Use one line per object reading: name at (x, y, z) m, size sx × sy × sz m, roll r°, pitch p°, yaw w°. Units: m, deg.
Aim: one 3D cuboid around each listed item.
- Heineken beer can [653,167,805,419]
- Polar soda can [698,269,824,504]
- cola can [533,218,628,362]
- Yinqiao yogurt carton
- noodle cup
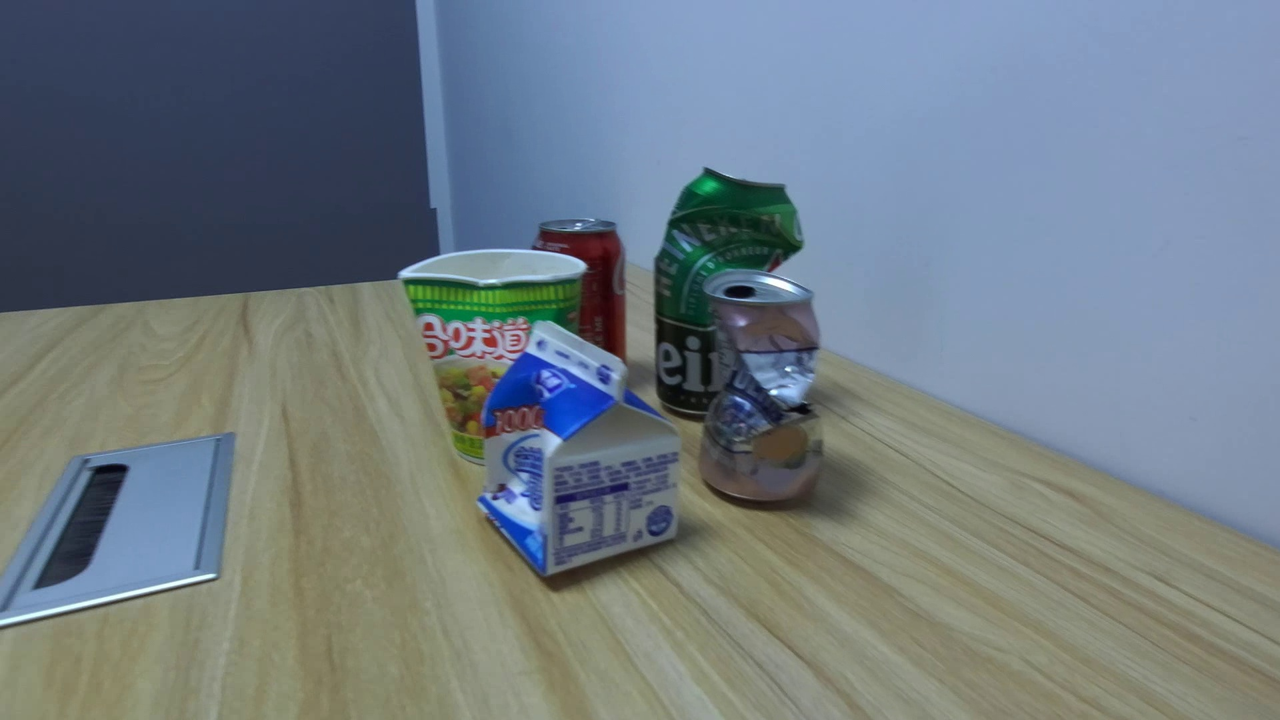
Heineken beer can at (0.049, -0.040, 0.459) m, size 0.079 × 0.159 × 0.067 m, roll -3°, pitch 21°, yaw -27°
Polar soda can at (0.061, 0.015, 0.363) m, size 0.074 × 0.114 × 0.070 m, roll 7°, pitch 27°, yaw 30°
cola can at (-0.044, -0.041, 0.513) m, size 0.068 × 0.120 × 0.068 m, roll 0°, pitch 17°, yaw 0°
Yinqiao yogurt carton at (-0.029, 0.036, 0.329) m, size 0.071 × 0.094 × 0.077 m, roll -7°, pitch 20°, yaw -36°
noodle cup at (-0.077, -0.003, 0.417) m, size 0.093 × 0.109 × 0.087 m, roll 7°, pitch 19°, yaw 18°
